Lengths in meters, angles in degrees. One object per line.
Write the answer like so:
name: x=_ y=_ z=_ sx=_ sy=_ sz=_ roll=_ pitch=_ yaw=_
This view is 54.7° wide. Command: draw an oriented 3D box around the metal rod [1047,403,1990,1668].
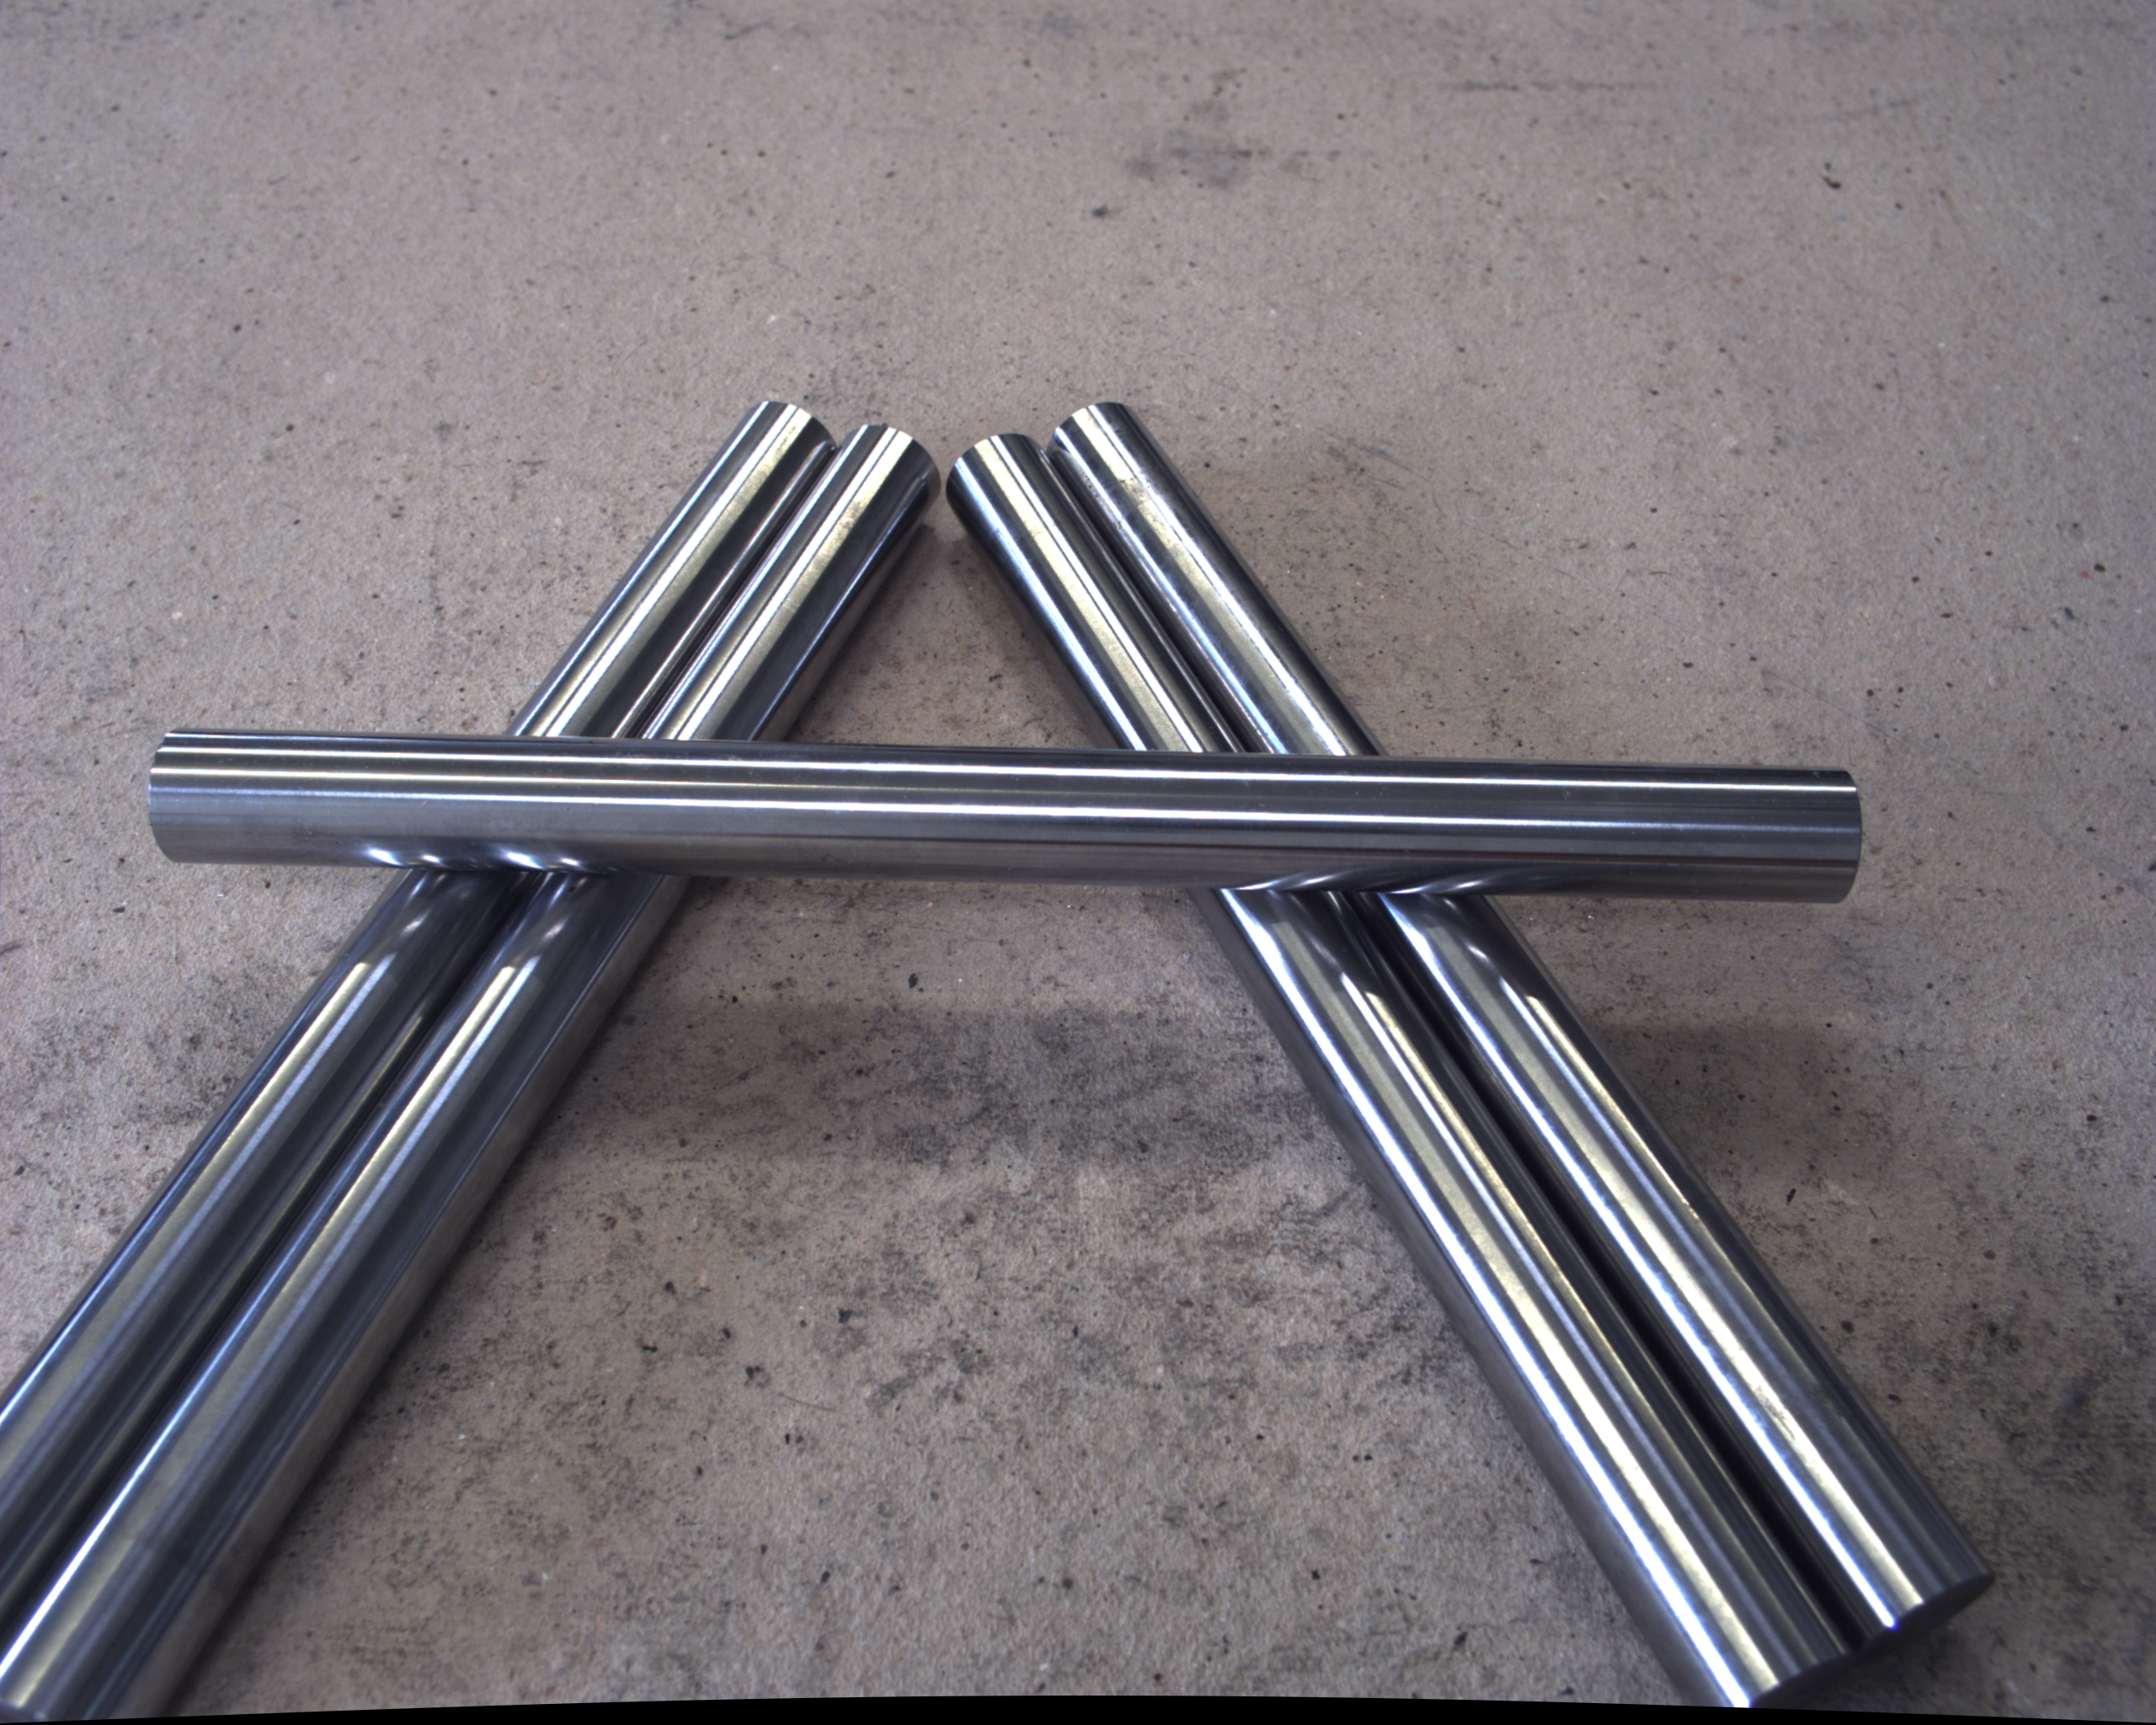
metal rod: x=0.064 y=0.008 z=0.398 sx=0.025 sy=0.025 sz=0.300 roll=-19 pitch=53 yaw=-15

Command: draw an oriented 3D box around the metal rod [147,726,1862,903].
metal rod: x=-0.013 y=-0.009 z=0.379 sx=0.302 sy=0.025 sz=0.025 roll=1 pitch=50 yaw=1

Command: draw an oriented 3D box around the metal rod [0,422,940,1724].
metal rod: x=-0.096 y=0.017 z=0.389 sx=0.025 sy=0.025 sz=0.301 roll=16 pitch=52 yaw=13

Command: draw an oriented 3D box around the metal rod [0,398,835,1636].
metal rod: x=-0.119 y=0.010 z=0.395 sx=0.025 sy=0.025 sz=0.301 roll=16 pitch=52 yaw=13

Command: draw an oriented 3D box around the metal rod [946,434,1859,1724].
metal rod: x=0.042 y=0.017 z=0.391 sx=0.025 sy=0.025 sz=0.300 roll=-19 pitch=53 yaw=-15
